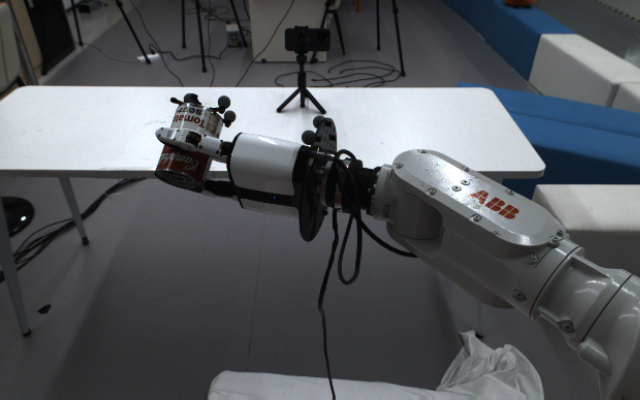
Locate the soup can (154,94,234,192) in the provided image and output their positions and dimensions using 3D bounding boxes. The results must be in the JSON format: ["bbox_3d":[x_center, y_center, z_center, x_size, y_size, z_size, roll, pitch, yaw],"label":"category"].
[{"bbox_3d":[-0.178,-0.071,0.662,0.067,0.067,0.101,9,72,9],"label":"soup can"}]
